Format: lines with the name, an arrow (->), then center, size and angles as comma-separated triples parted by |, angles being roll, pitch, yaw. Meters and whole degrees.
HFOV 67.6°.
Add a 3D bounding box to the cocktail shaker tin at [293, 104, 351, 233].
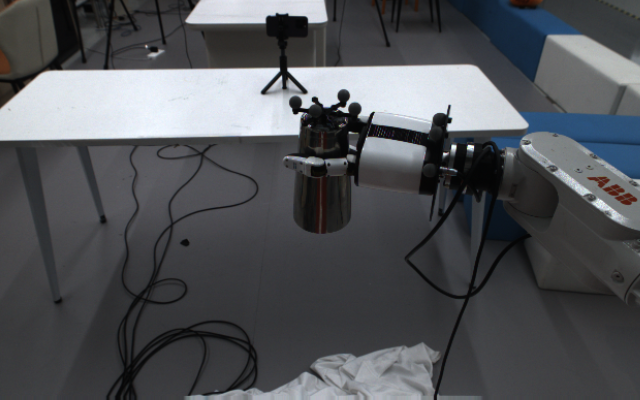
cocktail shaker tin -> 0.008, -0.048, 0.710 | 0.093, 0.170, 0.093 | 1, 39, -1
